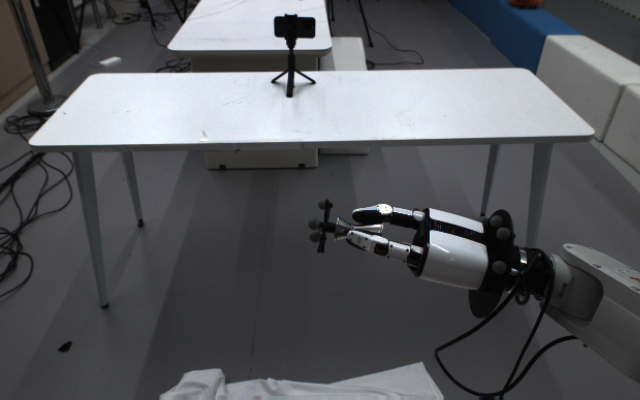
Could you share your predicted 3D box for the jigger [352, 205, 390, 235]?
[{"bbox_3d":[0.065,0.041,0.712,0.071,0.043,0.043,7,35,8],"label":"jigger"}]
